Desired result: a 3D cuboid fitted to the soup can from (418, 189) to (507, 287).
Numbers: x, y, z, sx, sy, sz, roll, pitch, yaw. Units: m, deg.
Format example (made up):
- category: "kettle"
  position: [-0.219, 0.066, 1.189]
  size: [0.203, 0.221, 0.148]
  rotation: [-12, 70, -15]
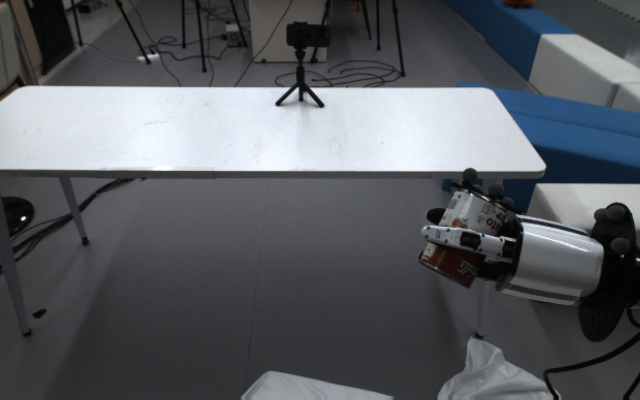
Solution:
- category: "soup can"
  position: [0.174, 0.045, 0.580]
  size: [0.067, 0.101, 0.067]
  rotation: [28, -3, 2]
